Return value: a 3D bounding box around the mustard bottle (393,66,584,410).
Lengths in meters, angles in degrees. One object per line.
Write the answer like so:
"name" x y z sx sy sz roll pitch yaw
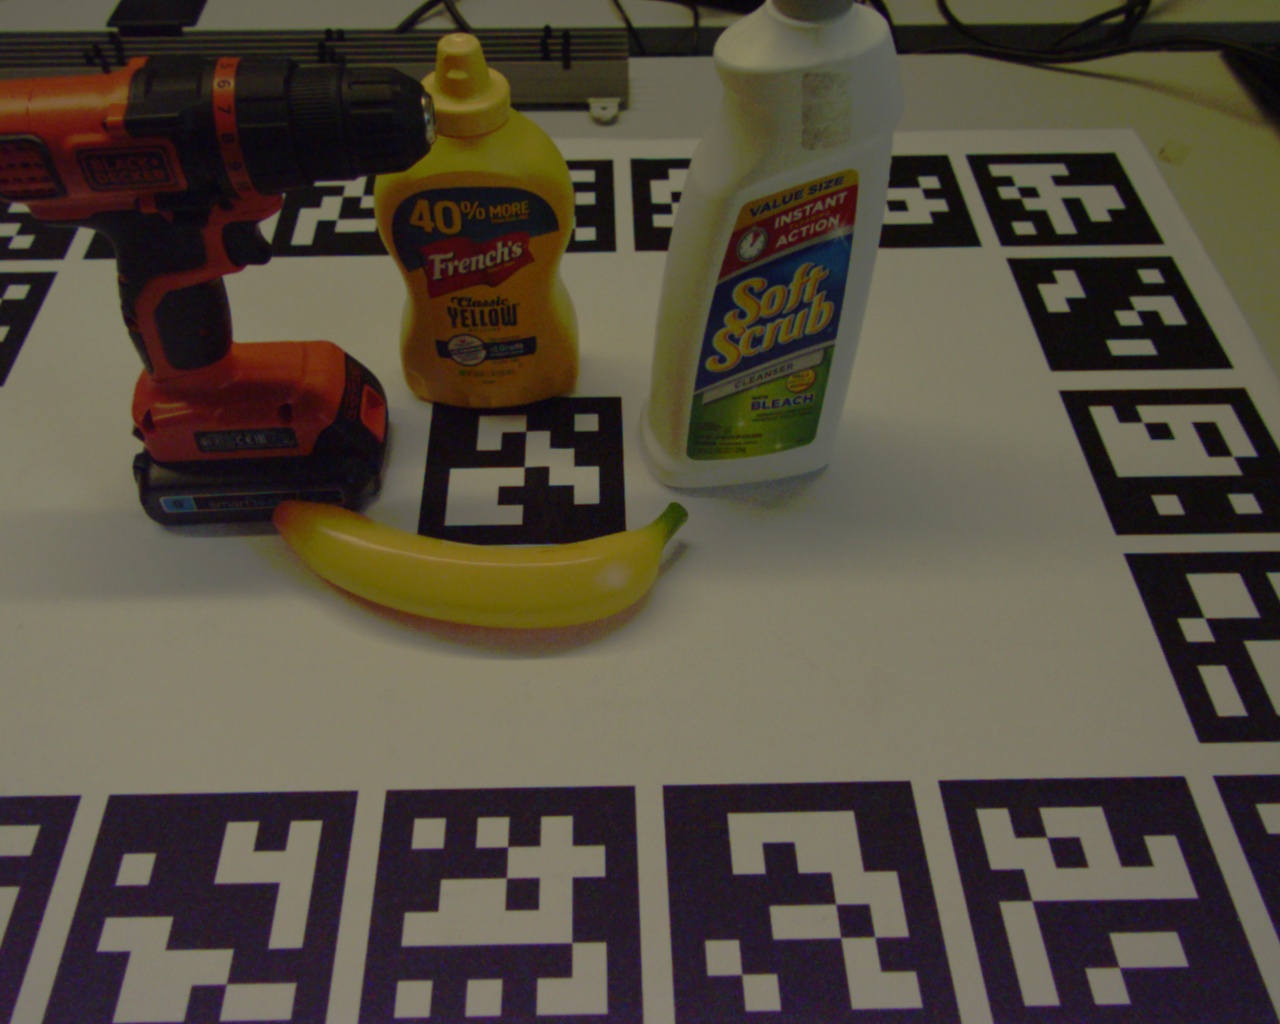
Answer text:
"mustard bottle" -0.077 -0.137 0.589 0.096 0.191 0.059 -1 50 -4

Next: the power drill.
"power drill" -0.174 -0.099 0.532 0.184 0.186 0.058 -3 44 -7

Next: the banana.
"banana" -0.065 0.020 0.555 0.197 0.038 0.074 -1 55 1

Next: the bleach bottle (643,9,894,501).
"bleach bottle" 0.057 -0.110 0.540 0.102 0.250 0.068 -8 52 -8
